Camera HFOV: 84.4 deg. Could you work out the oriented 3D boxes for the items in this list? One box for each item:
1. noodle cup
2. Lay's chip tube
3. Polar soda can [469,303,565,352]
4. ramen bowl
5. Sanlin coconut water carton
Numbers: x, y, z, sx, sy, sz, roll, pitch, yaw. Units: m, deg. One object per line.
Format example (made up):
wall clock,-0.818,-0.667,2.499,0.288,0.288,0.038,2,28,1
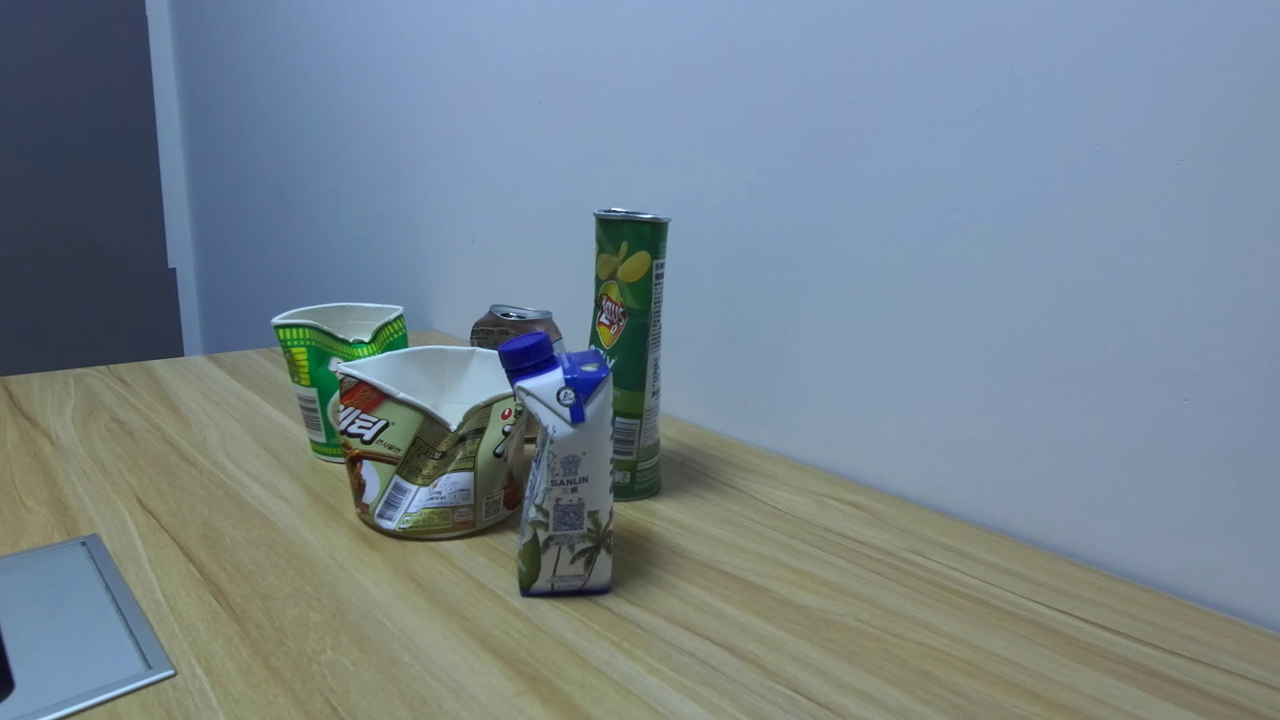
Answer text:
noodle cup,-0.223,0.015,0.554,0.083,0.122,0.075,-8,9,-8
Lay's chip tube,-0.011,-0.003,0.506,0.074,0.199,0.069,10,15,25
Polar soda can,-0.102,0.010,0.611,0.074,0.114,0.070,-10,26,-32
ramen bowl,-0.126,0.050,0.479,0.137,0.098,0.137,6,15,-1
Sanlin coconut water carton,-0.044,0.055,0.392,0.058,0.142,0.078,-4,15,-9
